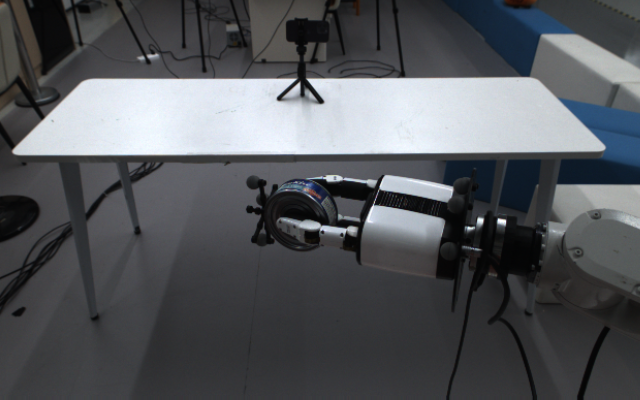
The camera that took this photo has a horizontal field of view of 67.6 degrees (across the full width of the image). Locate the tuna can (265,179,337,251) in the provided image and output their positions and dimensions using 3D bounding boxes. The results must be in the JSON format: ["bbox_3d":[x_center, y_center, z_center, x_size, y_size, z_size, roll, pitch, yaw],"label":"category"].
[{"bbox_3d":[-0.020,0.021,0.584,0.085,0.085,0.034,12,28,14],"label":"tuna can"}]
